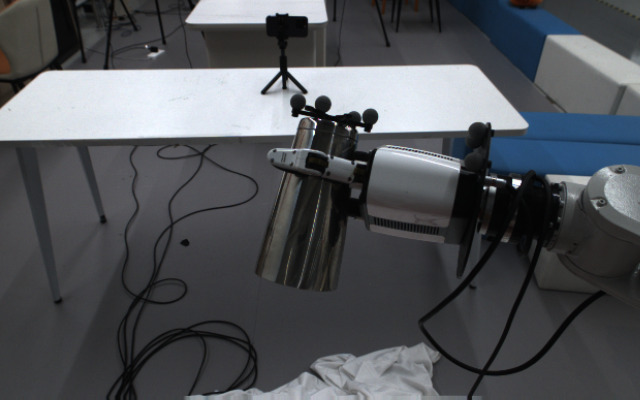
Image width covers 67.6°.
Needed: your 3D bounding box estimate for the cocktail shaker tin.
[{"bbox_3d":[-0.004,0.001,0.524,0.093,0.170,0.093,13,1,0],"label":"cocktail shaker tin"}]
